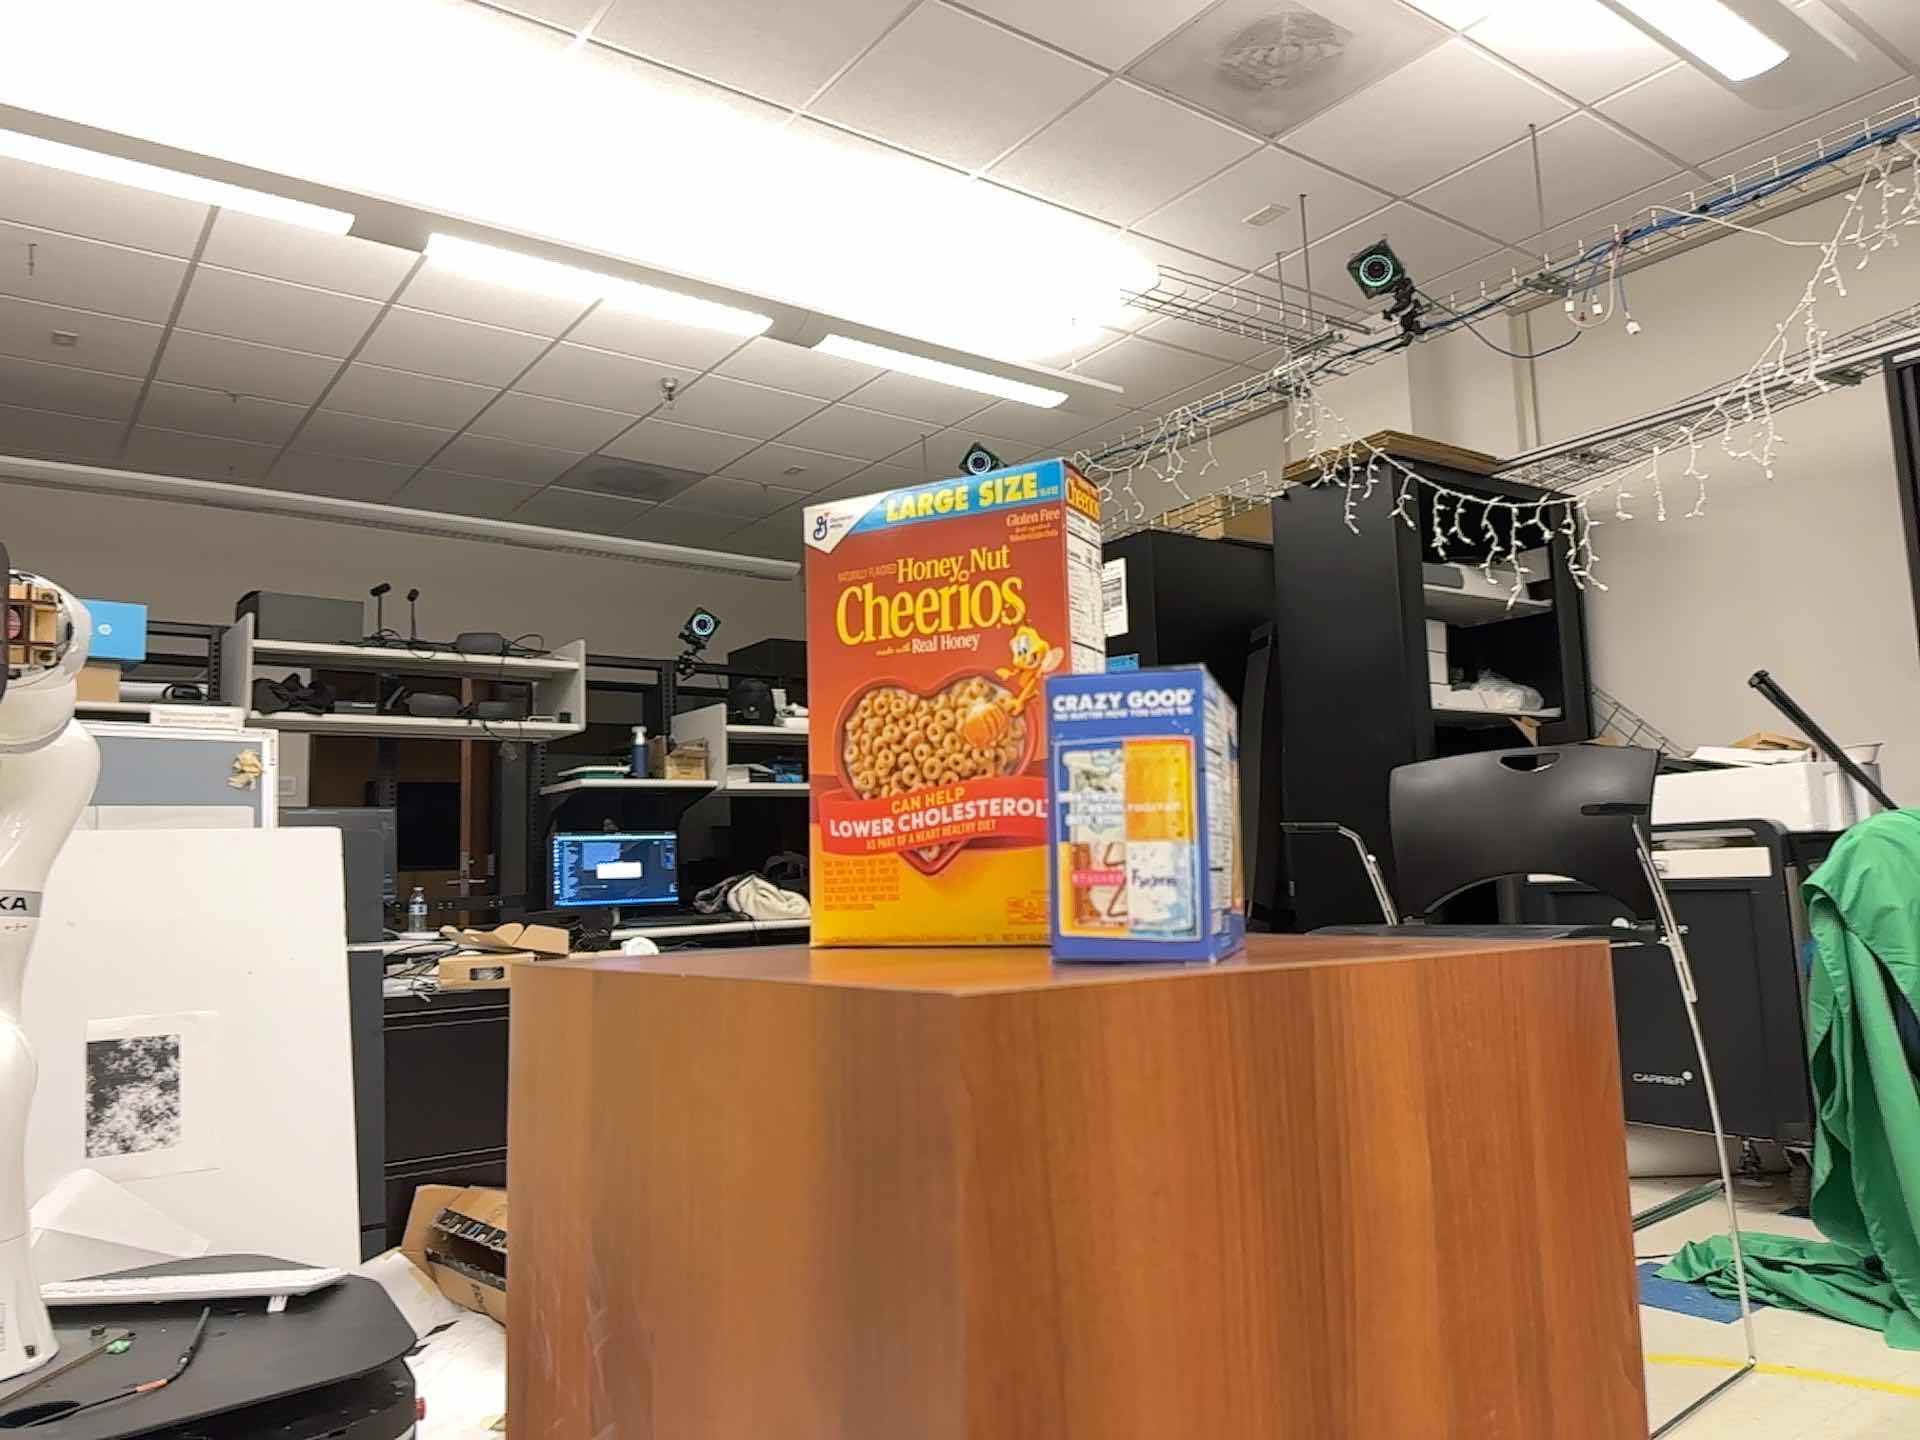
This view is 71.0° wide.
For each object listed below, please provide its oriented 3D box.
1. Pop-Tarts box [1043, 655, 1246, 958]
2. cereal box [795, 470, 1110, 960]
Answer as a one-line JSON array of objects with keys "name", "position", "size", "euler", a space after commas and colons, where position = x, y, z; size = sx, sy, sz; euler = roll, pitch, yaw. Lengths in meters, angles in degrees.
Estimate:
[{"name": "Pop-Tarts box", "position": [0.099, 0.051, 0.702], "size": [0.075, 0.135, 0.161], "euler": [-3, -8, 15]}, {"name": "cereal box", "position": [-0.009, 0.002, 0.899], "size": [0.195, 0.297, 0.065], "euler": [-5, -9, 24]}]
